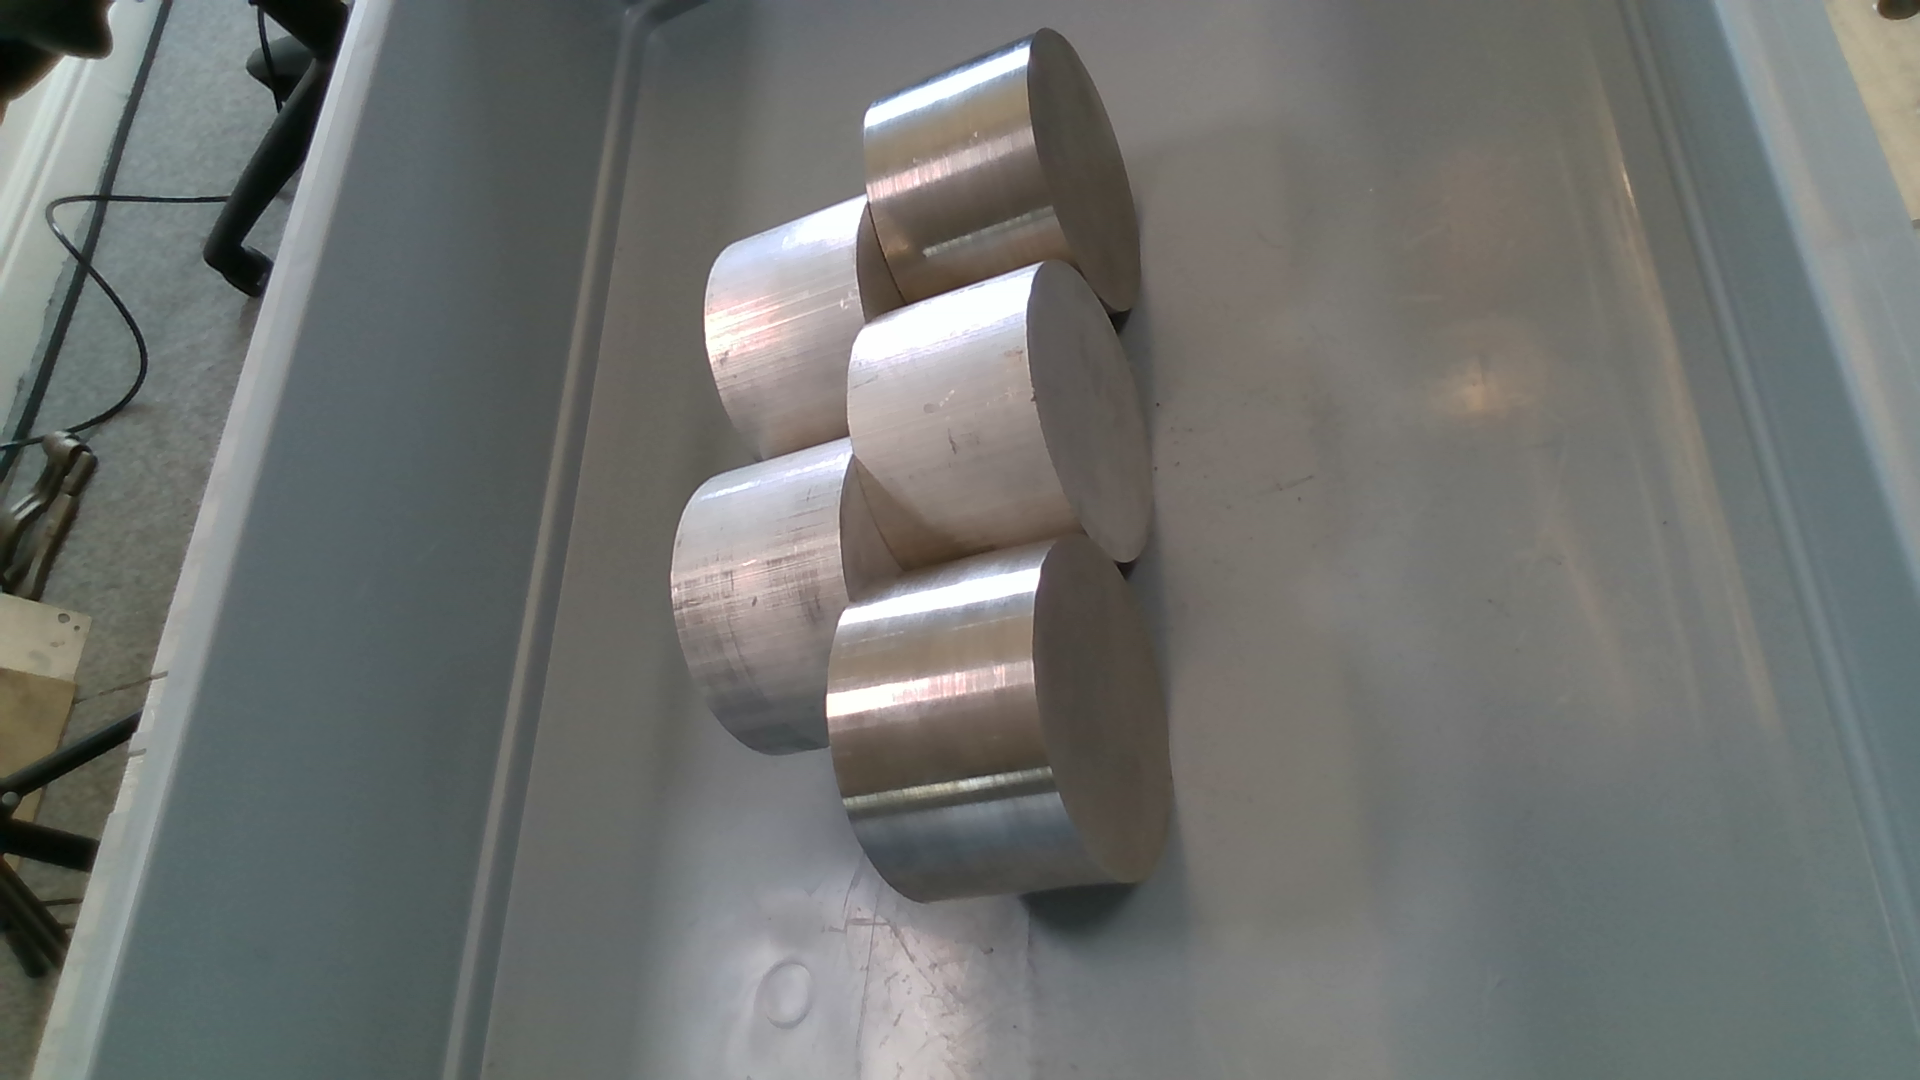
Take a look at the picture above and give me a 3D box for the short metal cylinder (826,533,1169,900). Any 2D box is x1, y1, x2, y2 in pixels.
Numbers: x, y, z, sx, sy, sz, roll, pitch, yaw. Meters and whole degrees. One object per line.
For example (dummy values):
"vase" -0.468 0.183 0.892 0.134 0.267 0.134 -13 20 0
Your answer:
"short metal cylinder" 0.012 0.043 0.326 0.050 0.080 0.080 -13 60 26

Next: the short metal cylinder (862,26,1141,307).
"short metal cylinder" 0.014 -0.100 0.400 0.050 0.080 0.080 -14 59 25

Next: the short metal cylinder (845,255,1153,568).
"short metal cylinder" 0.013 -0.029 0.363 0.050 0.080 0.080 -14 59 25

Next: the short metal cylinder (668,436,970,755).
"short metal cylinder" -0.032 0.014 0.368 0.050 0.080 0.080 -14 59 25

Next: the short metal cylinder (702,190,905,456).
"short metal cylinder" -0.031 -0.058 0.406 0.050 0.080 0.080 -14 59 25
